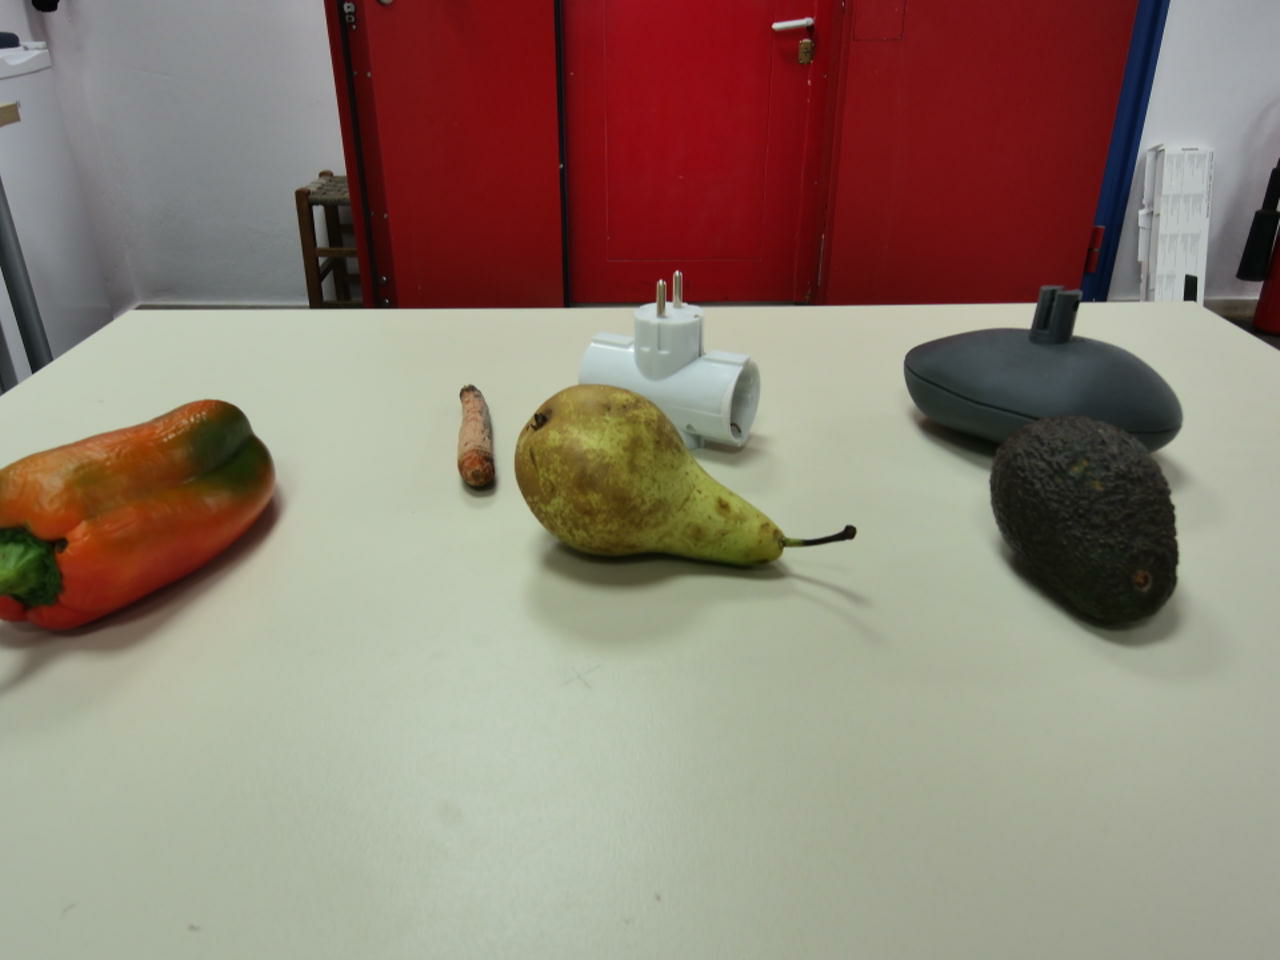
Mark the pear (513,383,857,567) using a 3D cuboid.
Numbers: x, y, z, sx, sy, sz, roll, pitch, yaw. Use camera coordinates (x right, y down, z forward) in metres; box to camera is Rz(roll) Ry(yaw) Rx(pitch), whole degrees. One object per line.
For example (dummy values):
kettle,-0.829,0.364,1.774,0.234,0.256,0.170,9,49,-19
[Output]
pear,0.018,-0.003,0.429,0.144,0.075,0.071,2,25,6
